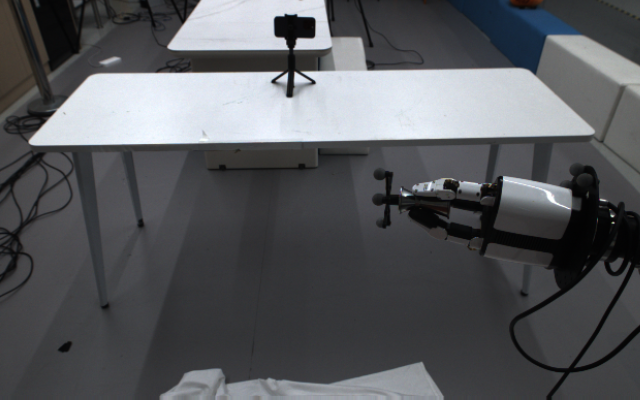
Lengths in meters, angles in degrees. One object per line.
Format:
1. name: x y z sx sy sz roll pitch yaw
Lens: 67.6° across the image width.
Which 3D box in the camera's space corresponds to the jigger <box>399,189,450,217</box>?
1. jigger: 0.152 -0.002 0.670 0.071 0.043 0.043 3 34 15
